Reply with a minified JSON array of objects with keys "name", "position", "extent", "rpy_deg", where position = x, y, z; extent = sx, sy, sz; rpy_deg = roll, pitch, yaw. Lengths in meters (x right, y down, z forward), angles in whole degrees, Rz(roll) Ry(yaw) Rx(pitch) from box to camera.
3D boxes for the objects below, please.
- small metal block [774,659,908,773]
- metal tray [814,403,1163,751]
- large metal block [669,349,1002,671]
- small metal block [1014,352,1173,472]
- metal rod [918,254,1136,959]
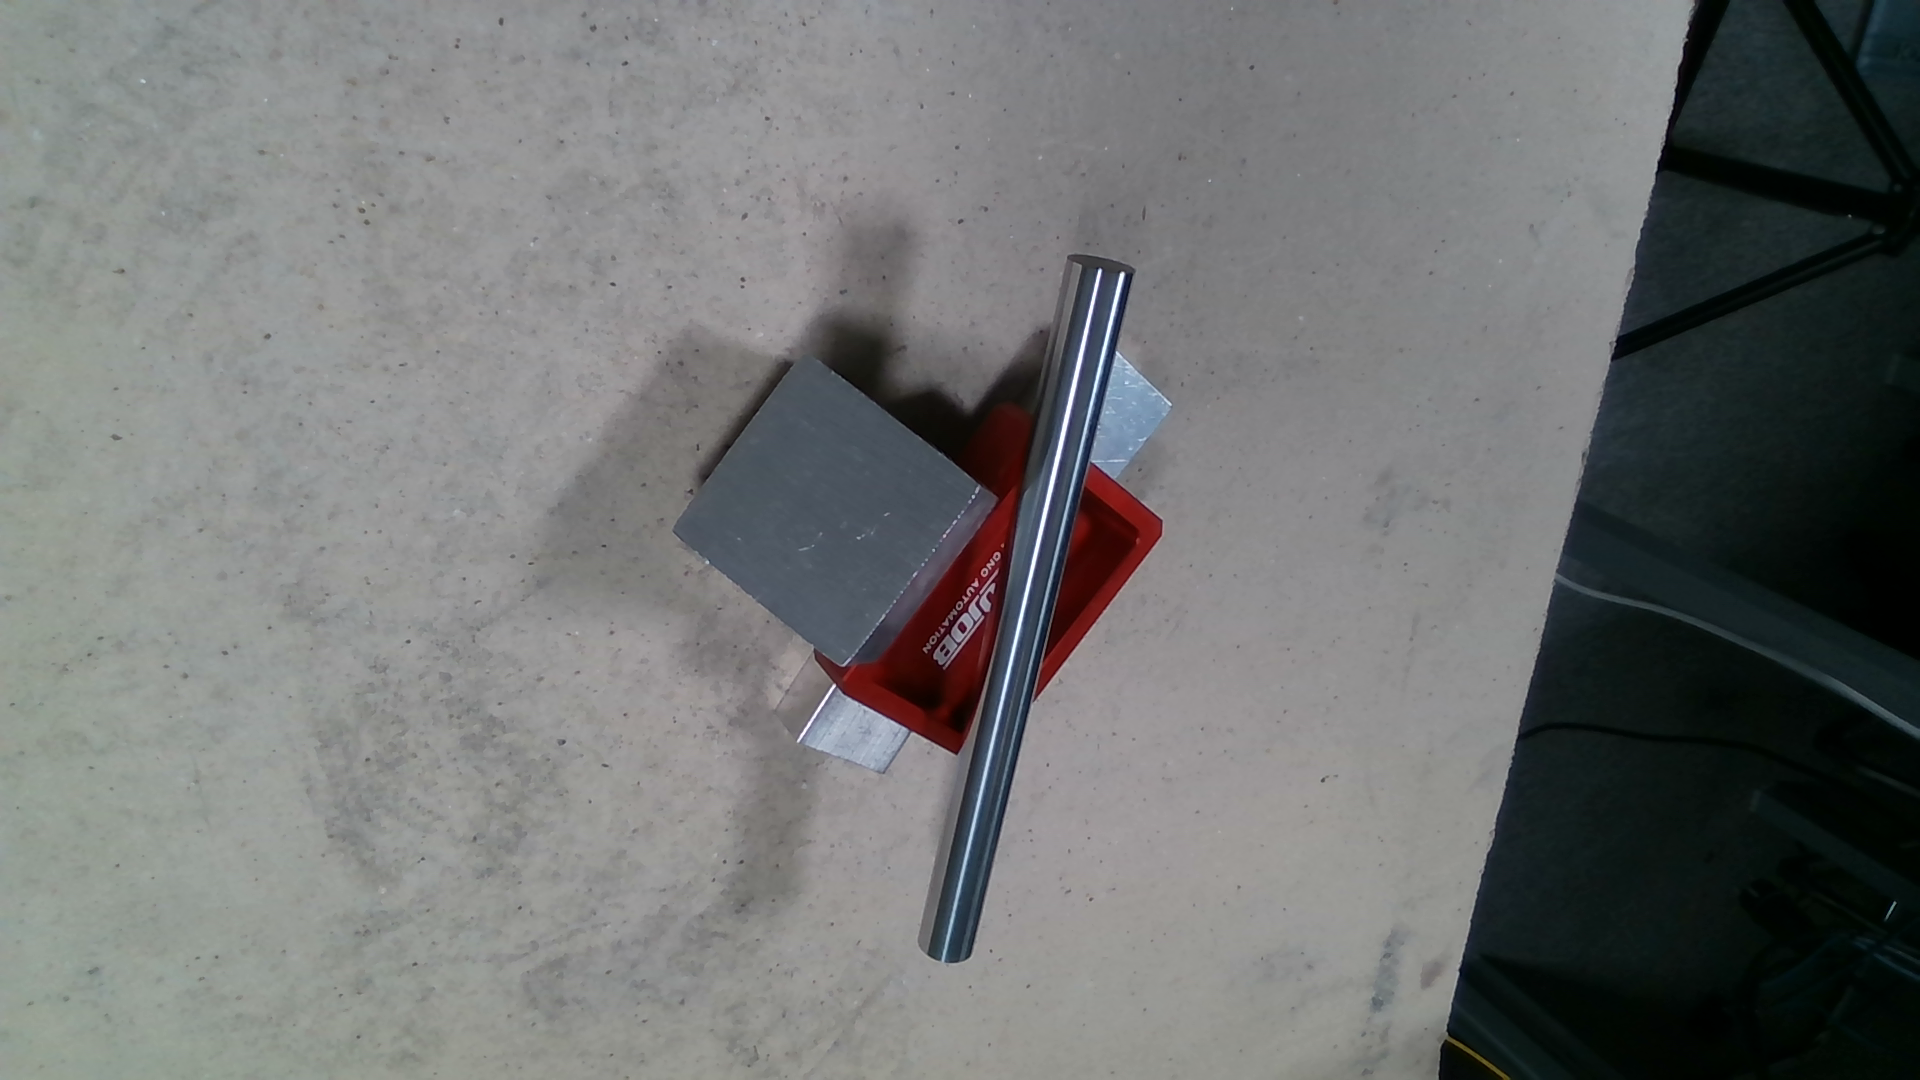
[{"name":"small metal block","position":[-0.042,0.066,0.590],"extent":[0.050,0.025,0.050],"rpy_deg":[28,98,-39]},{"name":"metal tray","position":[0.013,0.020,0.563],"extent":[0.090,0.030,0.130],"rpy_deg":[35,94,-39]},{"name":"large metal block","position":[-0.044,-0.010,0.503],"extent":[0.080,0.080,0.050],"rpy_deg":[-53,171,3]},{"name":"small metal block","position":[0.054,-0.055,0.584],"extent":[0.050,0.025,0.050],"rpy_deg":[36,93,-39]},{"name":"metal rod","position":[0.022,0.038,0.544],"extent":[0.025,0.025,0.301],"rpy_deg":[-2,116,-31]}]
